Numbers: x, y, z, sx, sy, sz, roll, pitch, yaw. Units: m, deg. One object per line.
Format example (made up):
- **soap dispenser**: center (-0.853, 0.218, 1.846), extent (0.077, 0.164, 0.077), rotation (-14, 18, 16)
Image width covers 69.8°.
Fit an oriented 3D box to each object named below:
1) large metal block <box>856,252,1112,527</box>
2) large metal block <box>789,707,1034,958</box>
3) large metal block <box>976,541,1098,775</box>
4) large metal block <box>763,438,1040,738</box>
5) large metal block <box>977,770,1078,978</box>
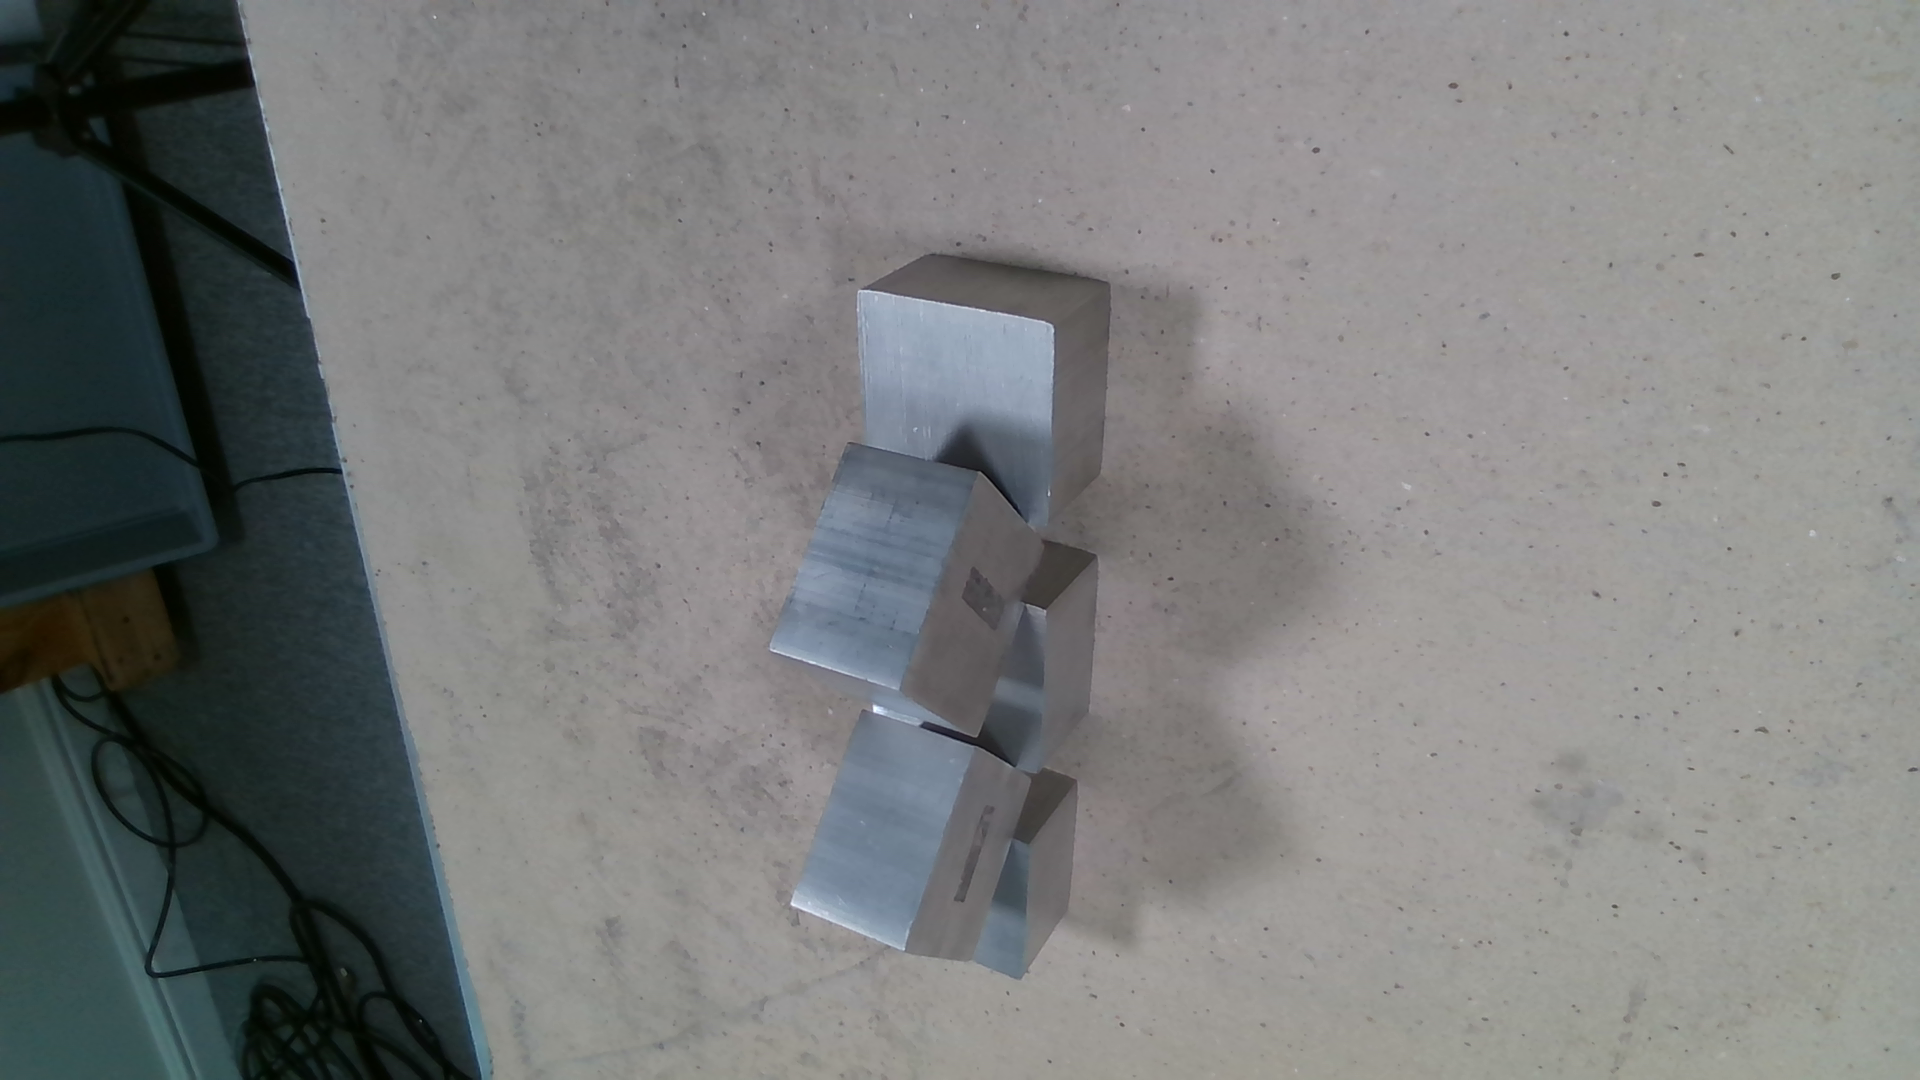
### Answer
- **large metal block**: center (0.009, -0.060, 0.526), extent (0.080, 0.050, 0.080), rotation (14, 122, 25)
- **large metal block**: center (-0.017, 0.121, 0.559), extent (0.050, 0.080, 0.080), rotation (15, 77, 24)
- **large metal block**: center (0.009, 0.042, 0.581), extent (0.080, 0.050, 0.080), rotation (15, 122, 24)
- **large metal block**: center (-0.018, 0.019, 0.502), extent (0.050, 0.080, 0.080), rotation (14, 167, 25)
- **large metal block**: center (0.005, 0.143, 0.640), extent (0.080, 0.050, 0.080), rotation (16, 122, 24)
